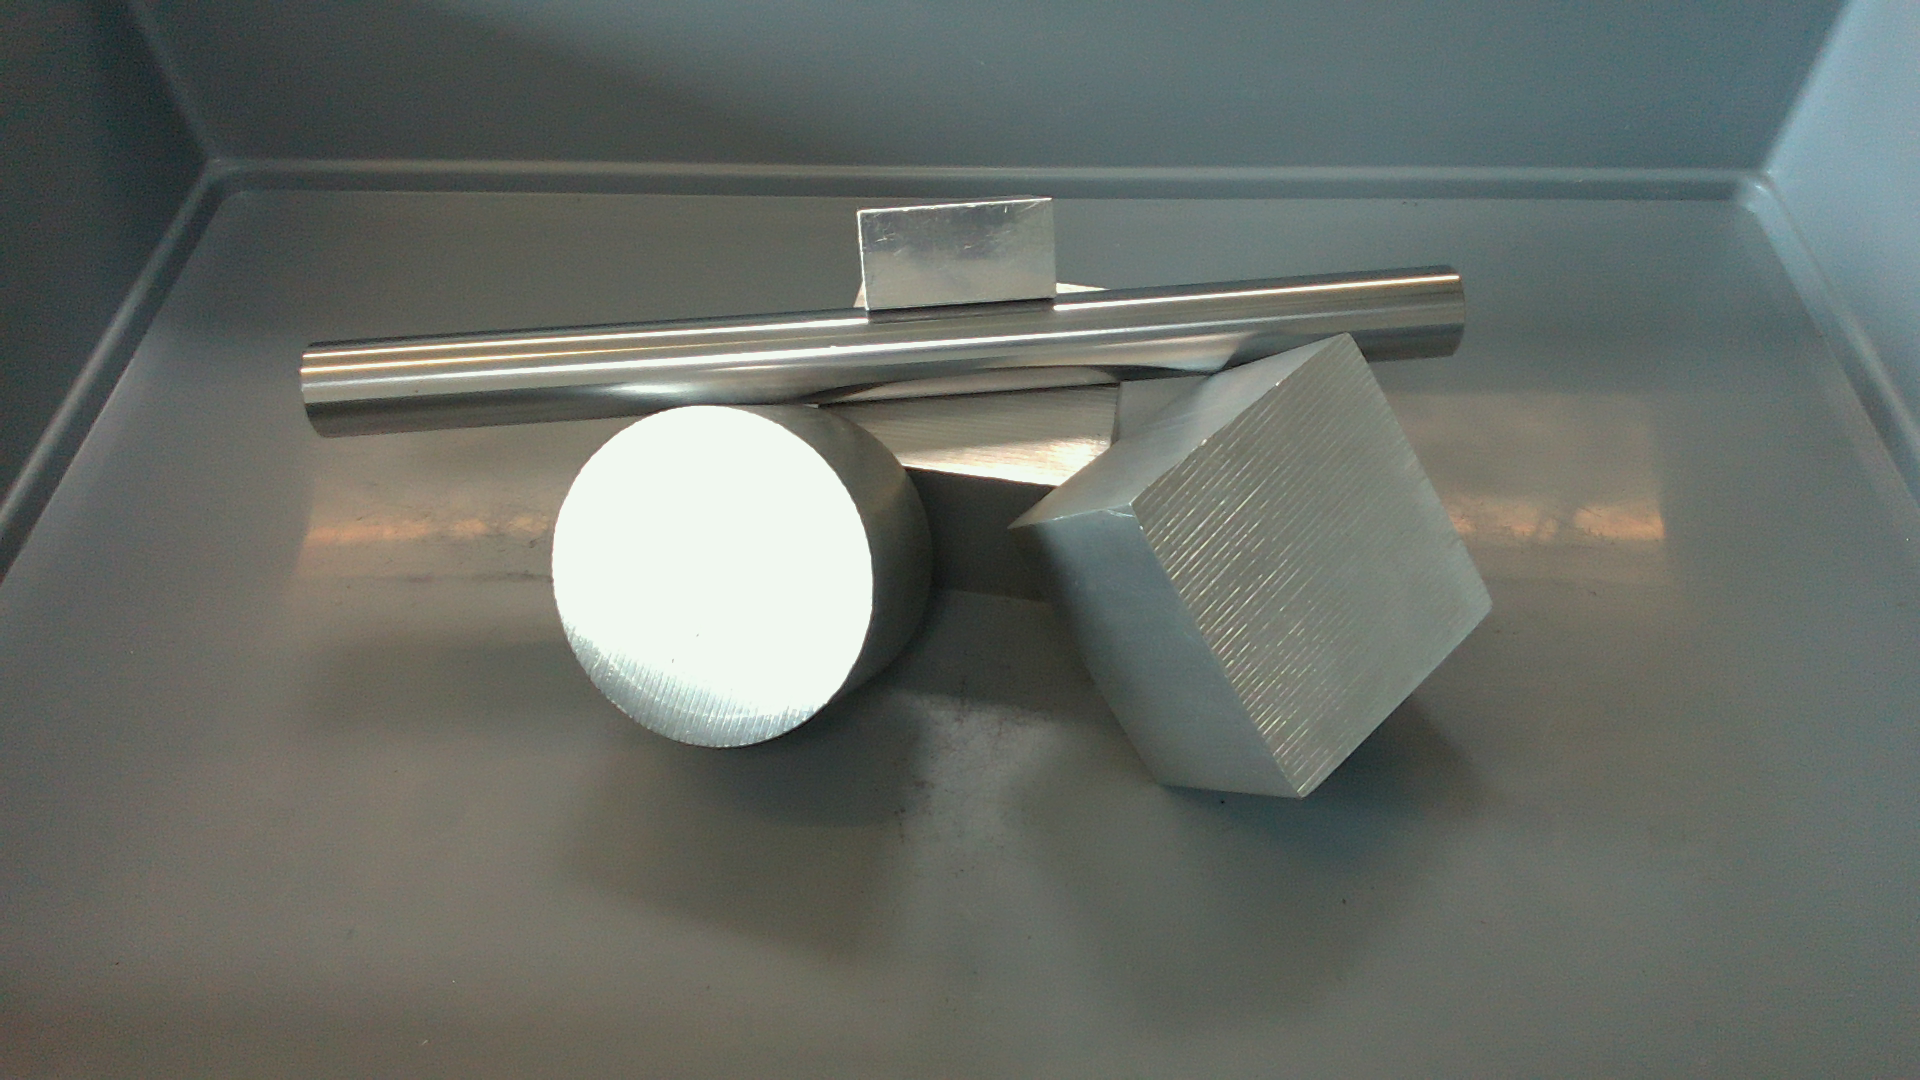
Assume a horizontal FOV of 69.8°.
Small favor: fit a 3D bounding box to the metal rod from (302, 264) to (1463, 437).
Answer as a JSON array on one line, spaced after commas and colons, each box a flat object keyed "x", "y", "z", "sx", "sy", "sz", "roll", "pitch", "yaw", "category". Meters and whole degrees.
[{"x": -0.017, "y": -0.051, "z": 0.368, "sx": 0.300, "sy": 0.025, "sz": 0.025, "roll": -5, "pitch": 50, "yaw": -4, "category": "metal rod"}]

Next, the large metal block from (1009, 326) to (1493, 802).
[{"x": 0.073, "y": 0.006, "z": 0.341, "sx": 0.080, "sy": 0.050, "sz": 0.080, "roll": -37, "pitch": 103, "yaw": -27, "category": "large metal block"}]

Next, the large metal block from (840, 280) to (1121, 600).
[{"x": 0.004, "y": -0.033, "z": 0.401, "sx": 0.080, "sy": 0.050, "sz": 0.080, "roll": 8, "pitch": 50, "yaw": 7, "category": "large metal block"}]

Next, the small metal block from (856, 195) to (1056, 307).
[{"x": -0.003, "y": -0.080, "z": 0.377, "sx": 0.050, "sy": 0.025, "sz": 0.050, "roll": -5, "pitch": 15, "yaw": -3, "category": "small metal block"}]

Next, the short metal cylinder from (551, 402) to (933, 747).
[{"x": -0.052, "y": 0.006, "z": 0.341, "sx": 0.080, "sy": 0.080, "sz": 0.050, "roll": 15, "pitch": 9, "yaw": 12, "category": "short metal cylinder"}]
